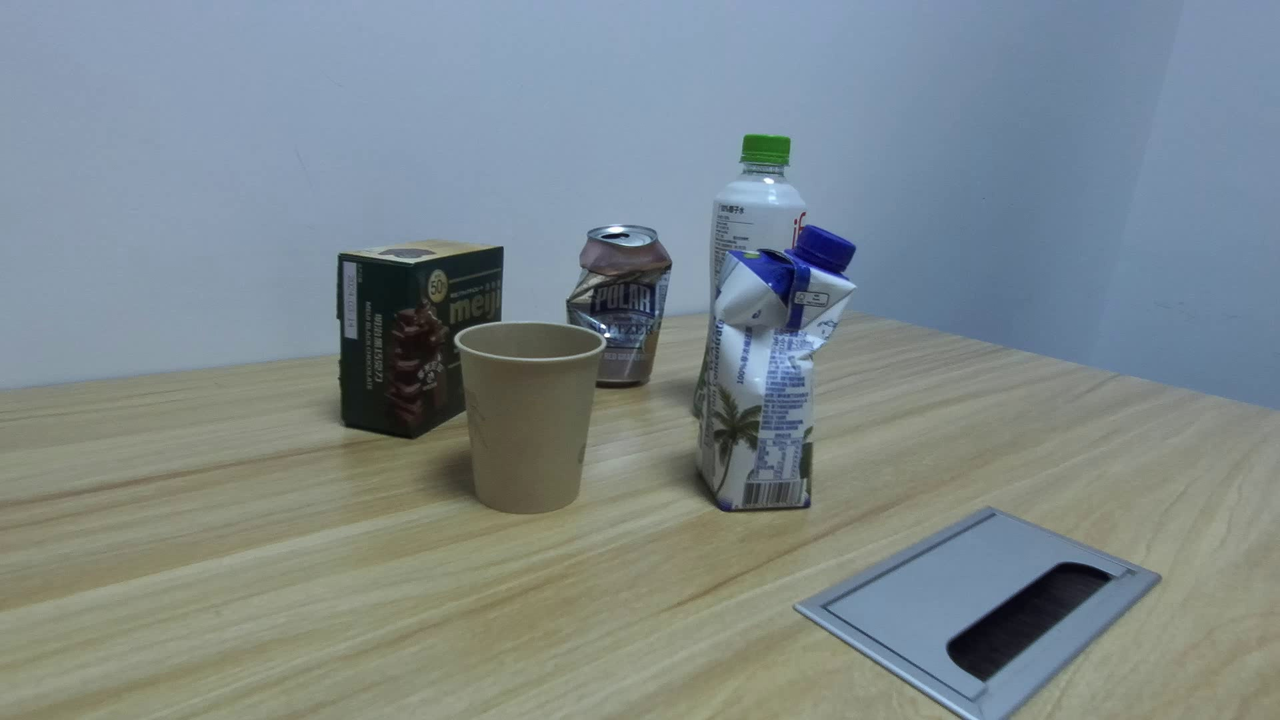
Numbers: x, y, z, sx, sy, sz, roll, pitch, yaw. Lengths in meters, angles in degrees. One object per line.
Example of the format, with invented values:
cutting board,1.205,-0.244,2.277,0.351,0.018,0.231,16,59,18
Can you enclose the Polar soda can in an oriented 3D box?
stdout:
Polar soda can,-0.019,-0.040,0.547,0.066,0.121,0.071,22,23,38

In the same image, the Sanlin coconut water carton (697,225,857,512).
Sanlin coconut water carton,0.068,0.003,0.362,0.070,0.143,0.060,2,17,-11

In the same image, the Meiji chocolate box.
Meiji chocolate box,-0.140,-0.018,0.464,0.056,0.109,0.110,8,15,16

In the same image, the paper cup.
paper cup,-0.056,0.029,0.358,0.075,0.082,0.075,4,16,-1

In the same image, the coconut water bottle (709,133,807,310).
coconut water bottle,0.074,-0.050,0.471,0.063,0.188,0.063,5,11,-1
